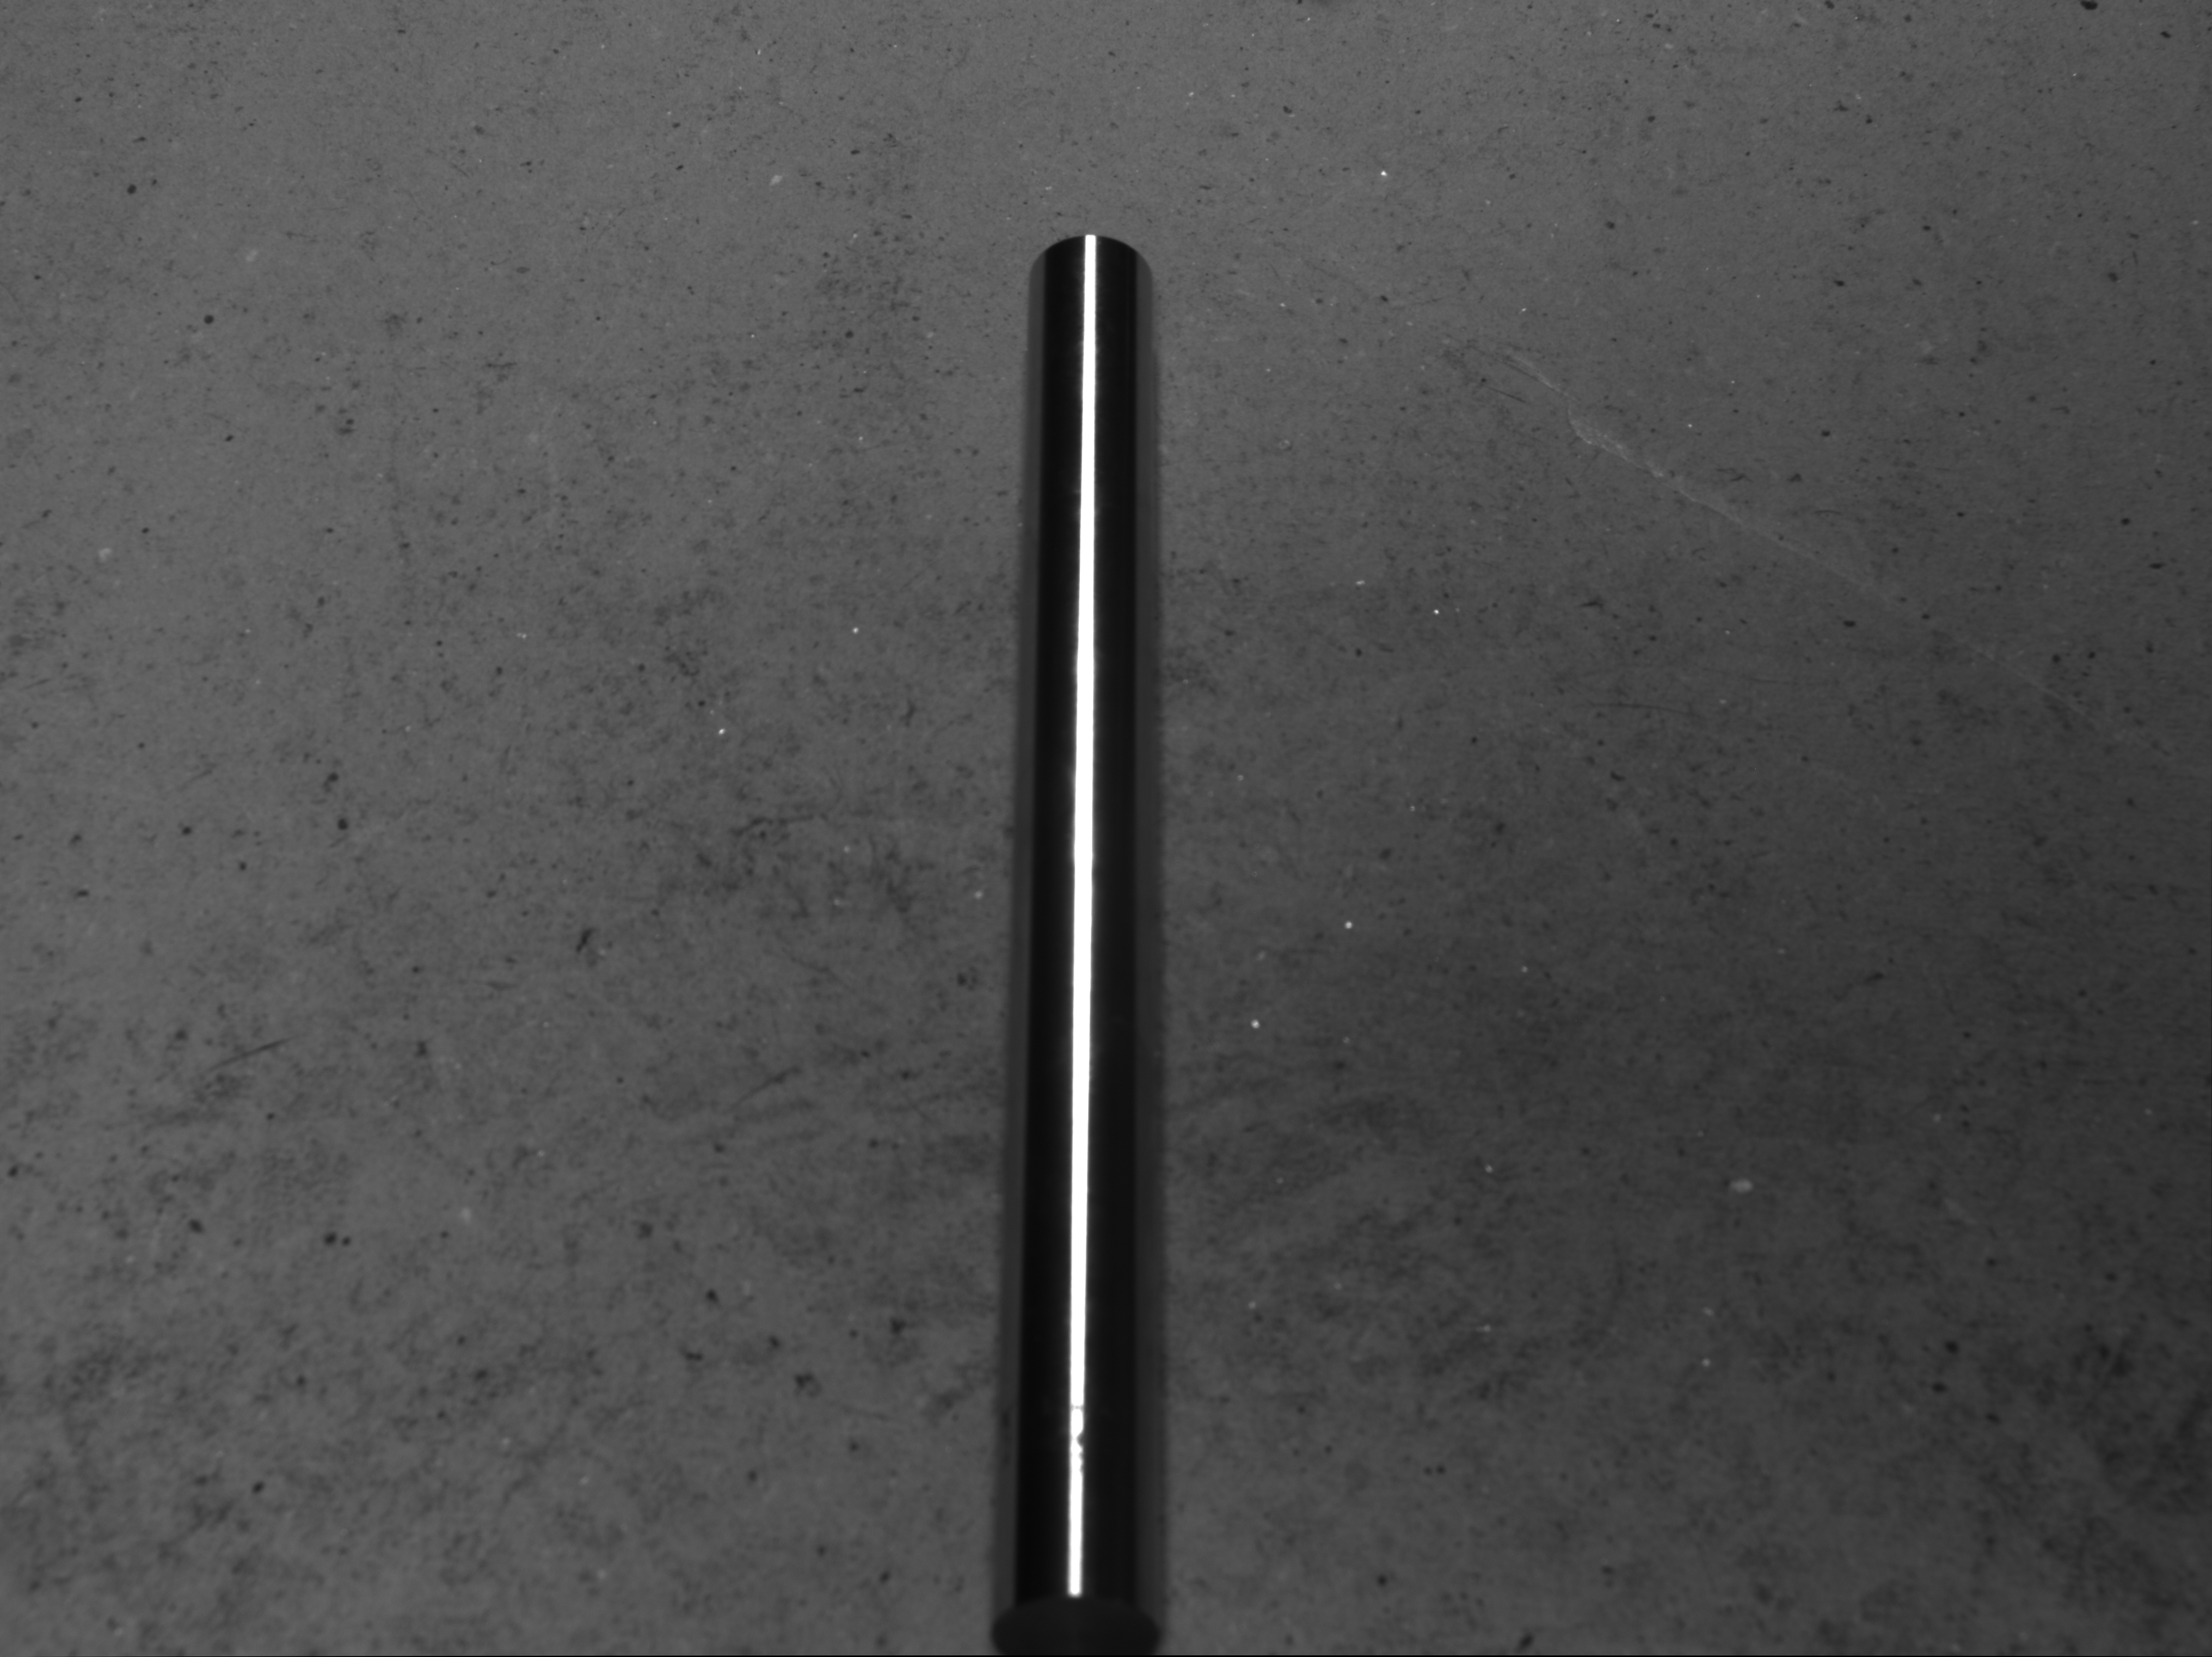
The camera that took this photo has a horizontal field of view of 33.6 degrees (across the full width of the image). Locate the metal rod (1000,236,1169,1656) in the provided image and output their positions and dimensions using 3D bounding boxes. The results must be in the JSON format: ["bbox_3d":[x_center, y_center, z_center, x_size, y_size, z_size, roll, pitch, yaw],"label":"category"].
[{"bbox_3d":[-0.002,0.005,0.638,0.025,0.025,0.300,0,50,0],"label":"metal rod"}]
